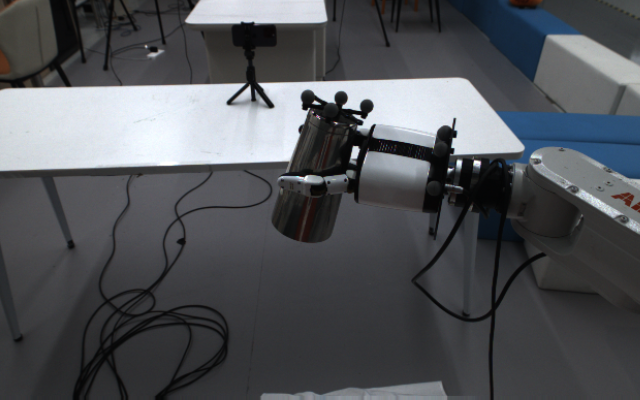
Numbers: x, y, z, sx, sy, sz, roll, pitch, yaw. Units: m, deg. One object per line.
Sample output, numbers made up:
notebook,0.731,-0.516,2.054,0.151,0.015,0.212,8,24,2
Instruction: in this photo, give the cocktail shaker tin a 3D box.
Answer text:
cocktail shaker tin,-0.002,-0.038,0.658,0.093,0.170,0.093,12,29,-7
